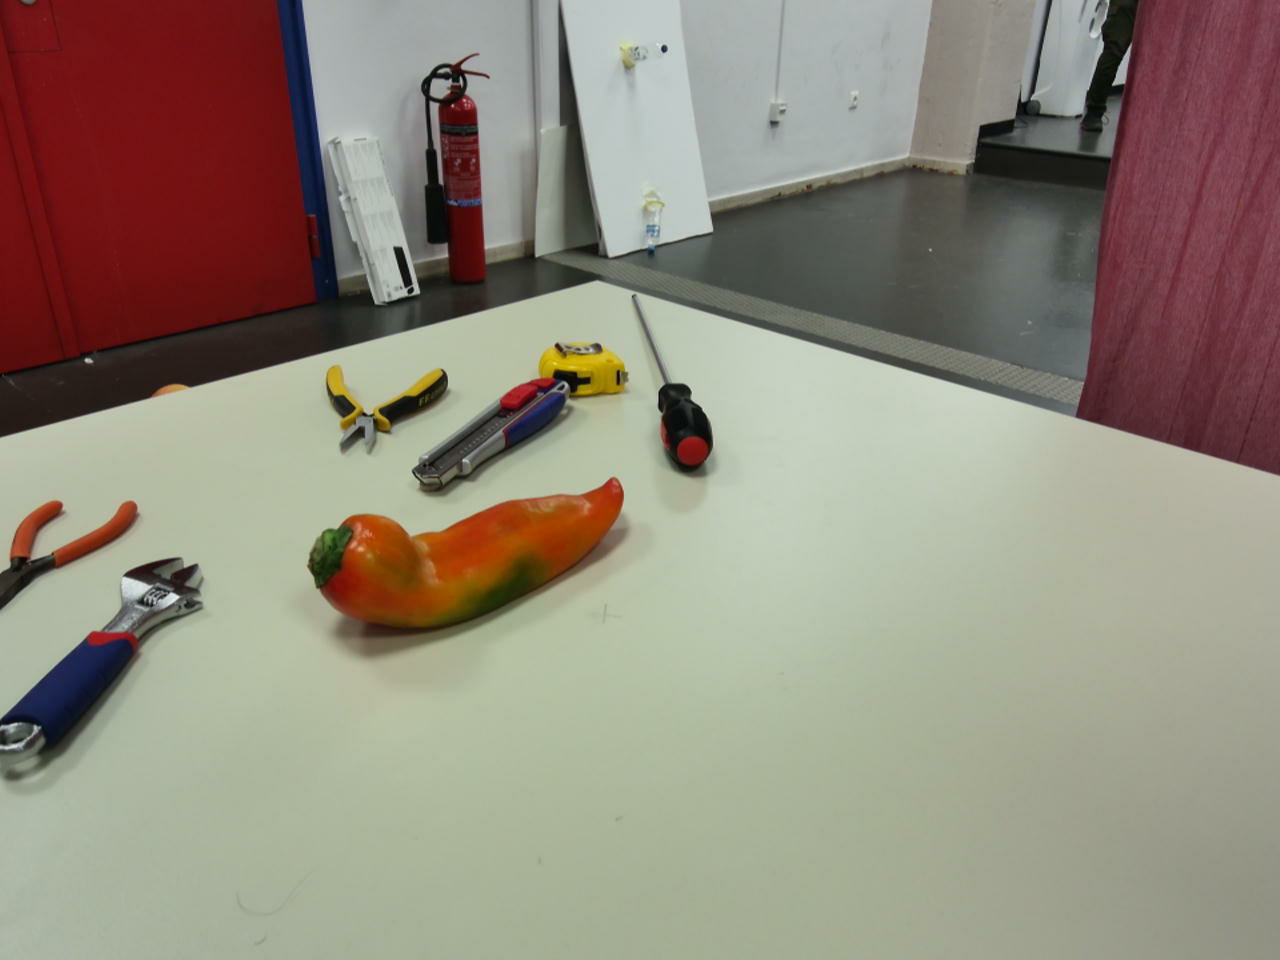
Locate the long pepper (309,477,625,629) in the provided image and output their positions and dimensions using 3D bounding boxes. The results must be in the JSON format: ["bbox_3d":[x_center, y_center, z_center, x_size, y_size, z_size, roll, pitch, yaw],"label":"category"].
[{"bbox_3d":[-0.081,0.027,0.539,0.199,0.065,0.066,-21,33,-38],"label":"long pepper"}]
